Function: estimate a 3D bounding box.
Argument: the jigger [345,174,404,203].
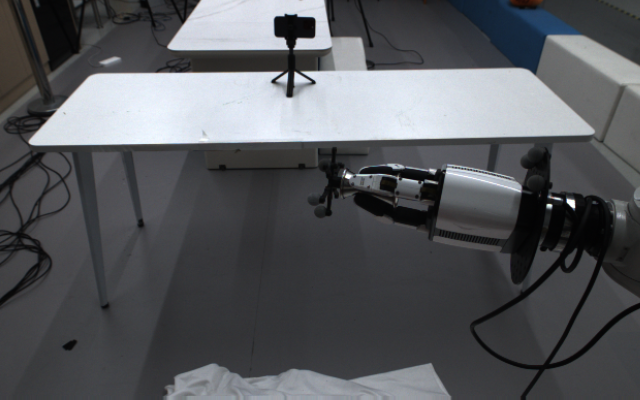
[{"bbox_3d":[0.069,-0.021,0.598,0.071,0.043,0.043,7,35,16],"label":"jigger"}]
